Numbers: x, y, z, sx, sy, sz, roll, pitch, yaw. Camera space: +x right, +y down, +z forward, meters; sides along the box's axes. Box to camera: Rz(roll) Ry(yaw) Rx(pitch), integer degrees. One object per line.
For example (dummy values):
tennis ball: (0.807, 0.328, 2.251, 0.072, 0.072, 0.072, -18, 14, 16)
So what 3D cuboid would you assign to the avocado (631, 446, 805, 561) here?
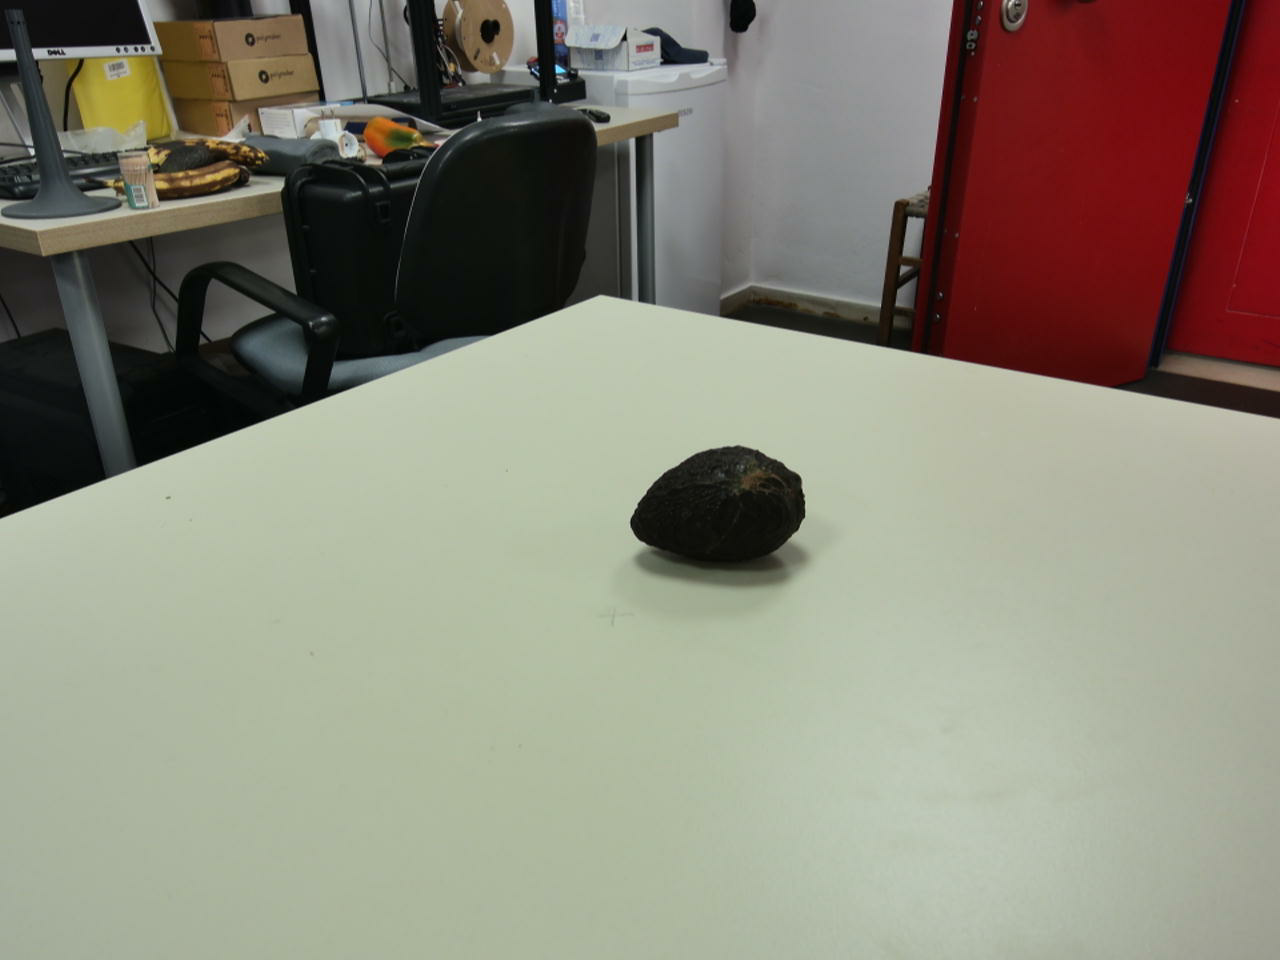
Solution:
avocado: (0.042, 0.013, 0.538, 0.092, 0.062, 0.062, 6, 25, 12)
